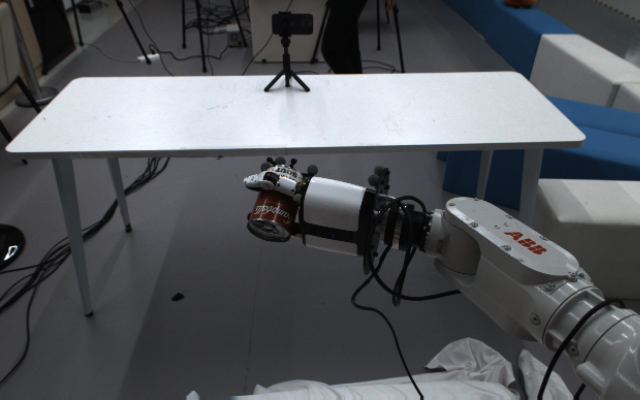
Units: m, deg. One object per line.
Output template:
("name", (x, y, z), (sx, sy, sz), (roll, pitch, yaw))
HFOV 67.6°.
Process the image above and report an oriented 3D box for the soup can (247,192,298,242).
("soup can", (-0.065, 0.005, 0.738), (0.067, 0.067, 0.101), (9, 58, 10))
